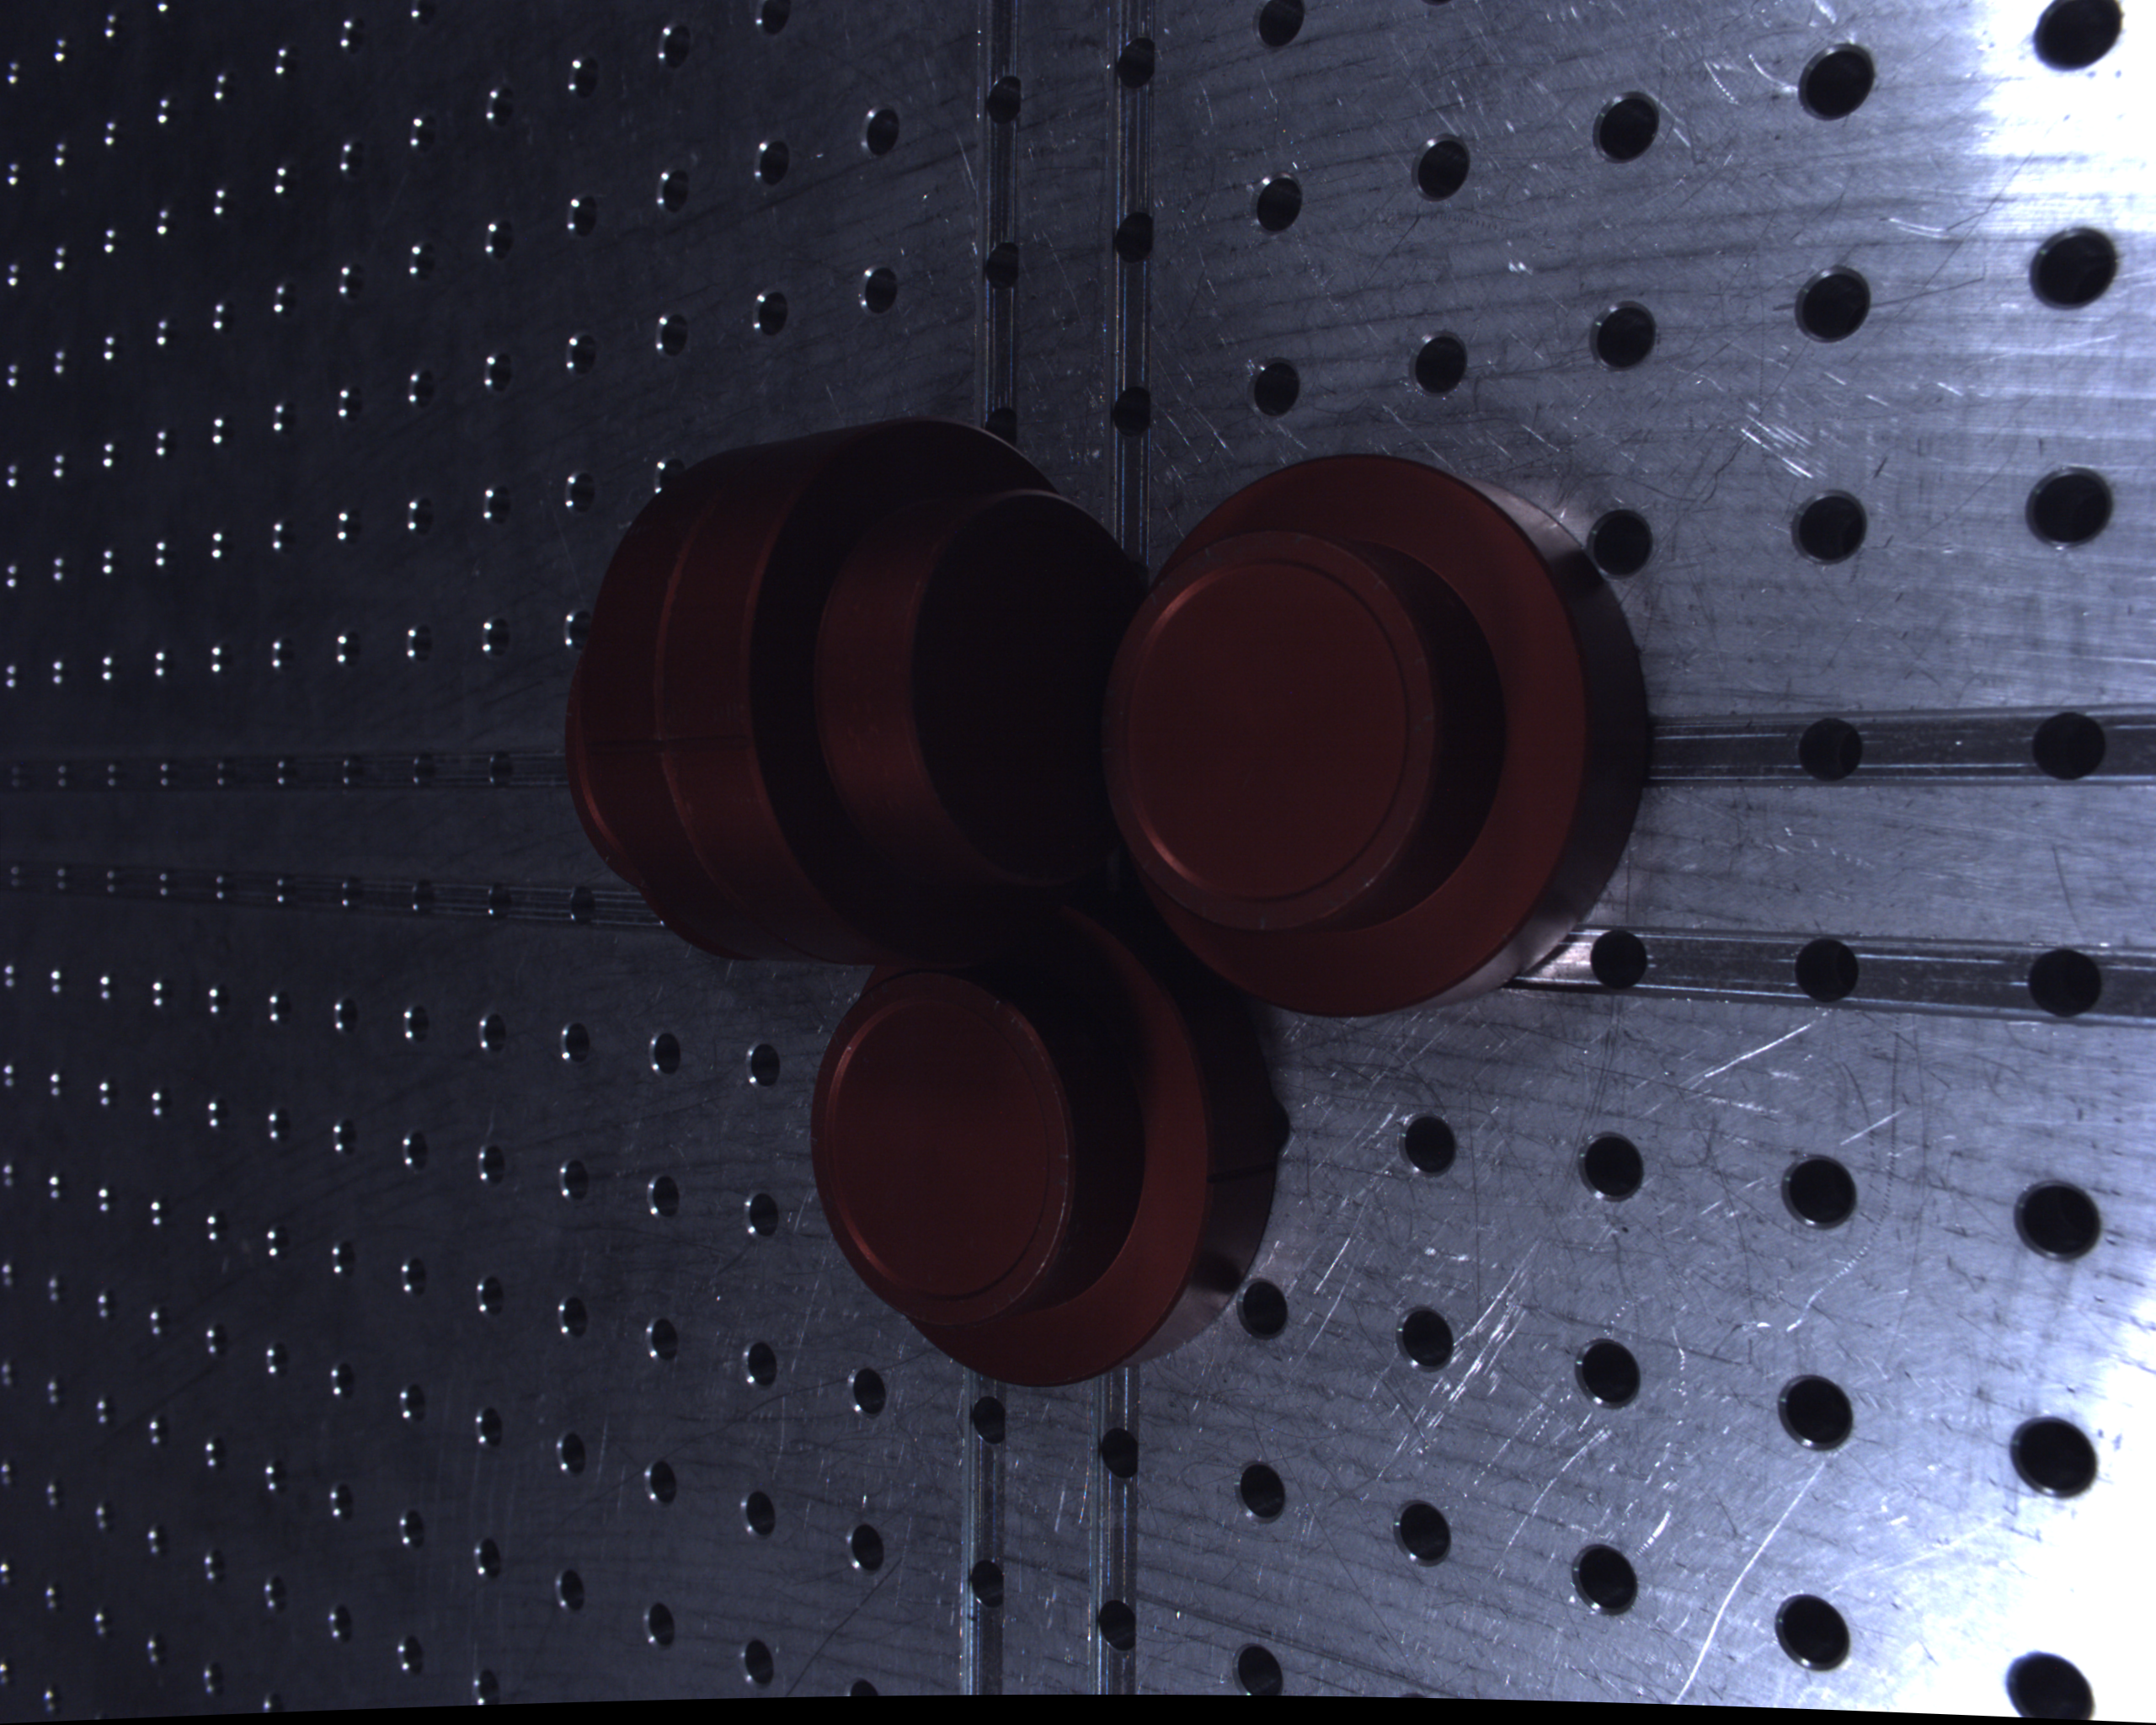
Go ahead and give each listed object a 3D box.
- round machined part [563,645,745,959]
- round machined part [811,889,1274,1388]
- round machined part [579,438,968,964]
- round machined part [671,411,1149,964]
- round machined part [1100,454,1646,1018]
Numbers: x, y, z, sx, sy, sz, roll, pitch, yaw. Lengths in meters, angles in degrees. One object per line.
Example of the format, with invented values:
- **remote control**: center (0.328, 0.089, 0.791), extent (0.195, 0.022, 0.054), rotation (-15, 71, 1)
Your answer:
- **round machined part**: center (-0.075, -0.027, 0.457), extent (0.098, 0.042, 0.097), rotation (0, 90, 39)
- **round machined part**: center (-0.014, 0.054, 0.407), extent (0.098, 0.042, 0.097), rotation (0, 90, 39)
- **round machined part**: center (-0.054, -0.030, 0.396), extent (0.042, 0.099, 0.097), rotation (2, 91, 40)
- **round machined part**: center (-0.020, -0.031, 0.369), extent (0.042, 0.099, 0.097), rotation (-1, 90, 40)
- **round machined part**: center (0.043, -0.022, 0.360), extent (0.098, 0.042, 0.097), rotation (0, 90, 39)
